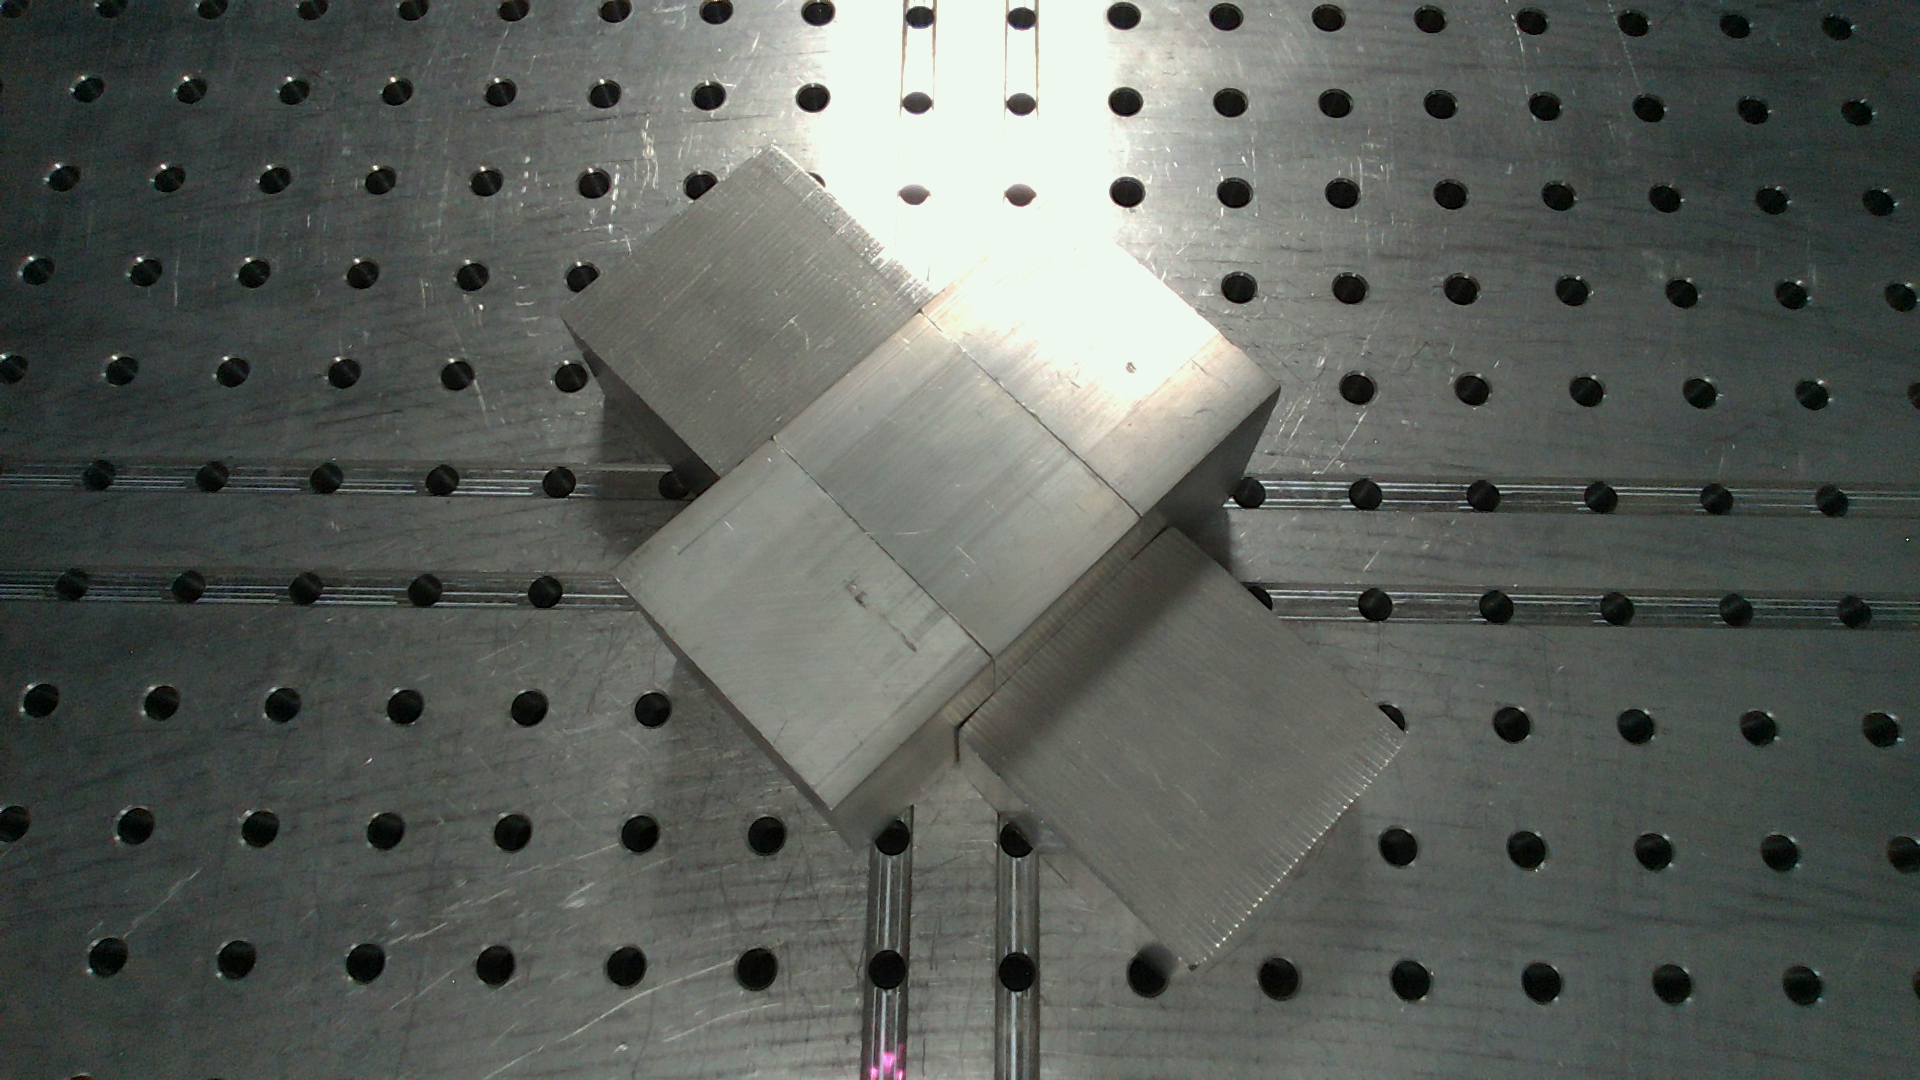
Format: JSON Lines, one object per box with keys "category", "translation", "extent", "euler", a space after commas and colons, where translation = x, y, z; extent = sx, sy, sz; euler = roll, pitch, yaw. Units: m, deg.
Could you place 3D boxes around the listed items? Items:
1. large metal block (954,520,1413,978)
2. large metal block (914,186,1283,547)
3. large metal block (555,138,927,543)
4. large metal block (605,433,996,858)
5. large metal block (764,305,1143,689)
{"category": "large metal block", "translation": [0.056, 0.056, 0.363], "extent": [0.080, 0.050, 0.080], "euler": [-42, 75, -13]}
{"category": "large metal block", "translation": [0.034, -0.036, 0.381], "extent": [0.050, 0.080, 0.080], "euler": [-43, 75, -14]}
{"category": "large metal block", "translation": [-0.054, -0.054, 0.401], "extent": [0.080, 0.050, 0.080], "euler": [43, 76, 14]}
{"category": "large metal block", "translation": [-0.037, 0.031, 0.357], "extent": [0.050, 0.080, 0.080], "euler": [-43, 75, -14]}
{"category": "large metal block", "translation": [-0.002, -0.002, 0.369], "extent": [0.050, 0.080, 0.080], "euler": [-43, 75, -14]}
